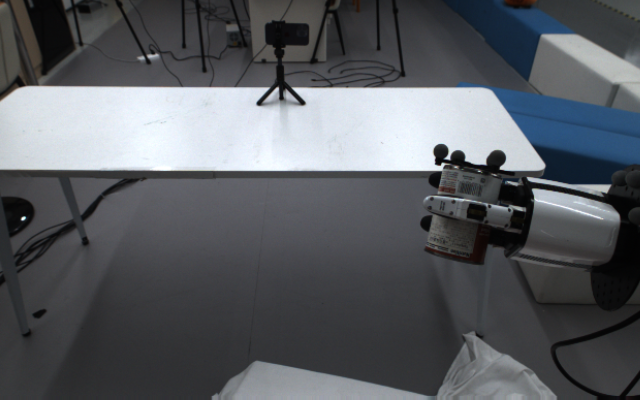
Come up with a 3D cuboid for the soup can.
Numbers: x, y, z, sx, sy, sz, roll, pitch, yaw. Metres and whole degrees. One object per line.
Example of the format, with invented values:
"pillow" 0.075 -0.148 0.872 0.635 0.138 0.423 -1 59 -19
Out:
"soup can" 0.166 0.016 0.554 0.067 0.101 0.067 12 2 0
